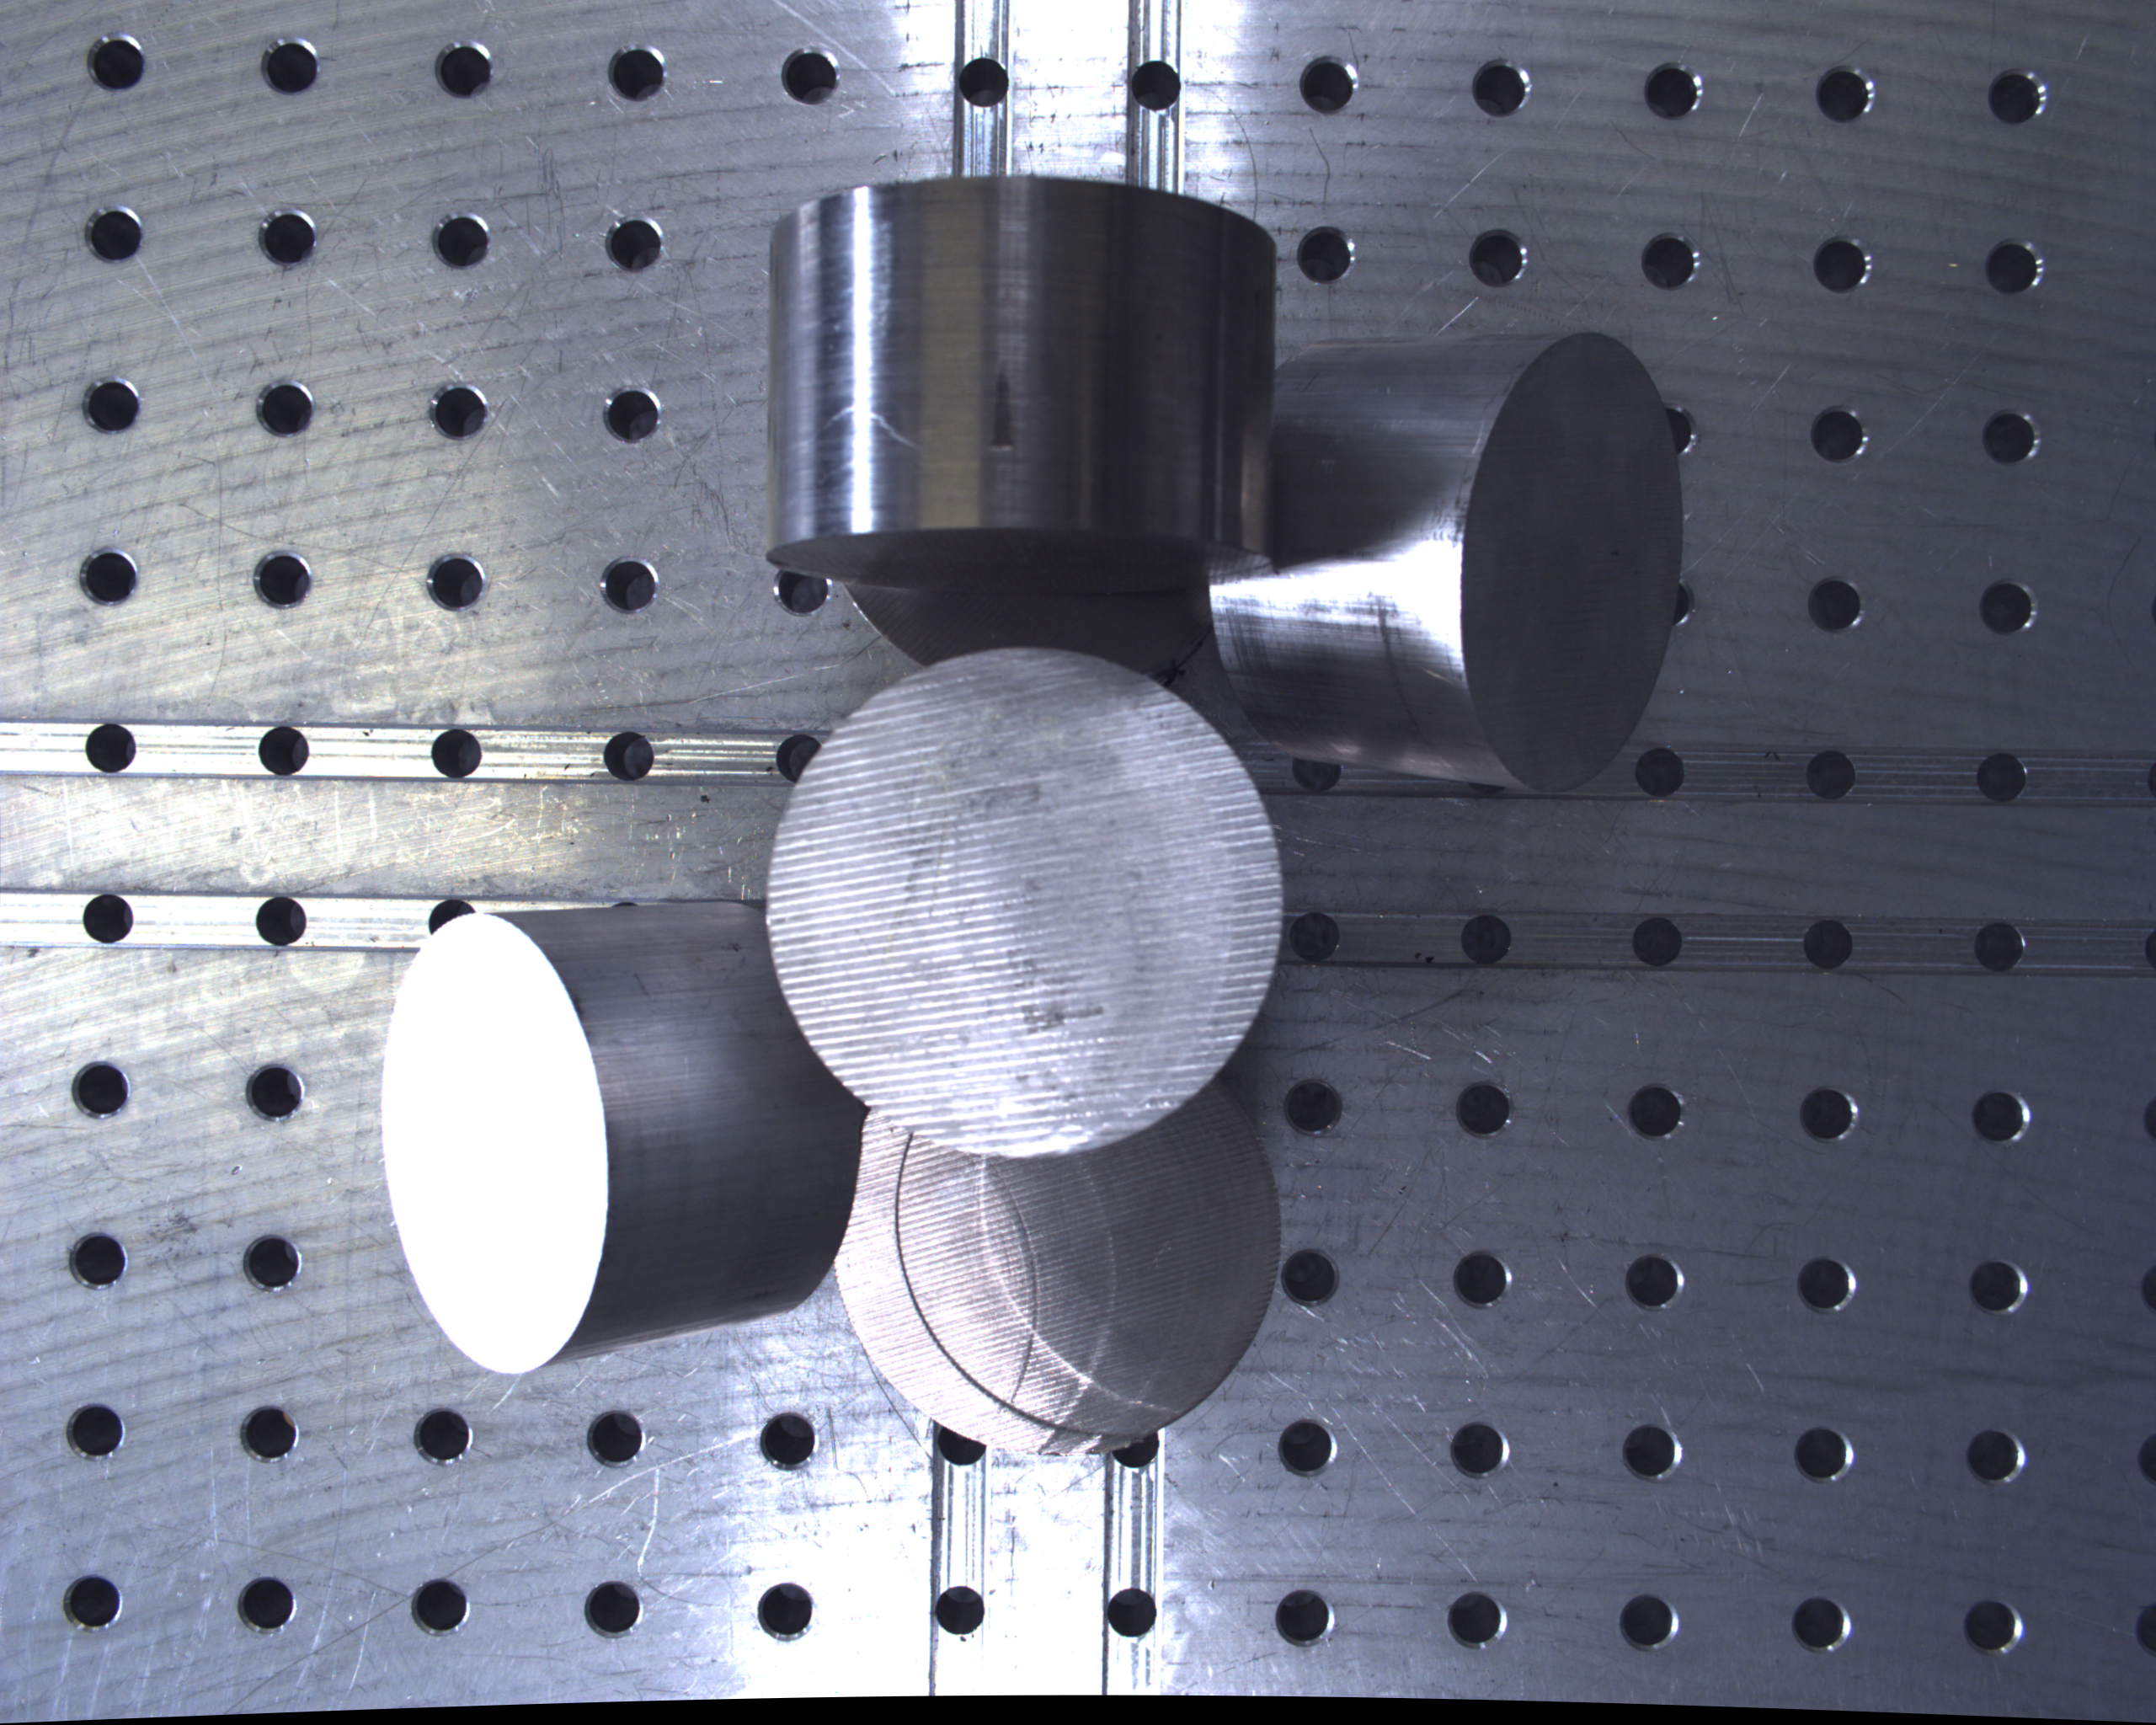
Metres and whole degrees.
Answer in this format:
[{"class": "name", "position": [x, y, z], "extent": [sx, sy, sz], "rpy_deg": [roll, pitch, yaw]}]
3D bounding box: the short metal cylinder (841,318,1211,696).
[{"class": "short metal cylinder", "position": [-0.007, -0.069, 0.400], "extent": [0.081, 0.050, 0.079], "rpy_deg": [0, 91, 0]}]

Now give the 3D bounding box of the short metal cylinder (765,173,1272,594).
[{"class": "short metal cylinder", "position": [-0.009, -0.073, 0.334], "extent": [0.081, 0.080, 0.050], "rpy_deg": [0, 90, 0]}]

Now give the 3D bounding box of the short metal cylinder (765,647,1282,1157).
[{"class": "short metal cylinder", "position": [-0.008, 0.006, 0.350], "extent": [0.081, 0.050, 0.079], "rpy_deg": [0, 90, 0]}]

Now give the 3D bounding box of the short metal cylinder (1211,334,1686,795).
[{"class": "short metal cylinder", "position": [0.069, -0.055, 0.379], "extent": [0.050, 0.080, 0.080], "rpy_deg": [11, 90, 40]}]

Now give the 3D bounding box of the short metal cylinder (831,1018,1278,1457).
[{"class": "short metal cylinder", "position": [-0.004, 0.067, 0.400], "extent": [0.081, 0.050, 0.079], "rpy_deg": [0, 91, -1]}]

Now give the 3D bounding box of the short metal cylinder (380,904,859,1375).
[{"class": "short metal cylinder", "position": [-0.085, 0.048, 0.380], "extent": [0.050, 0.080, 0.080], "rpy_deg": [-2, 90, -44]}]
